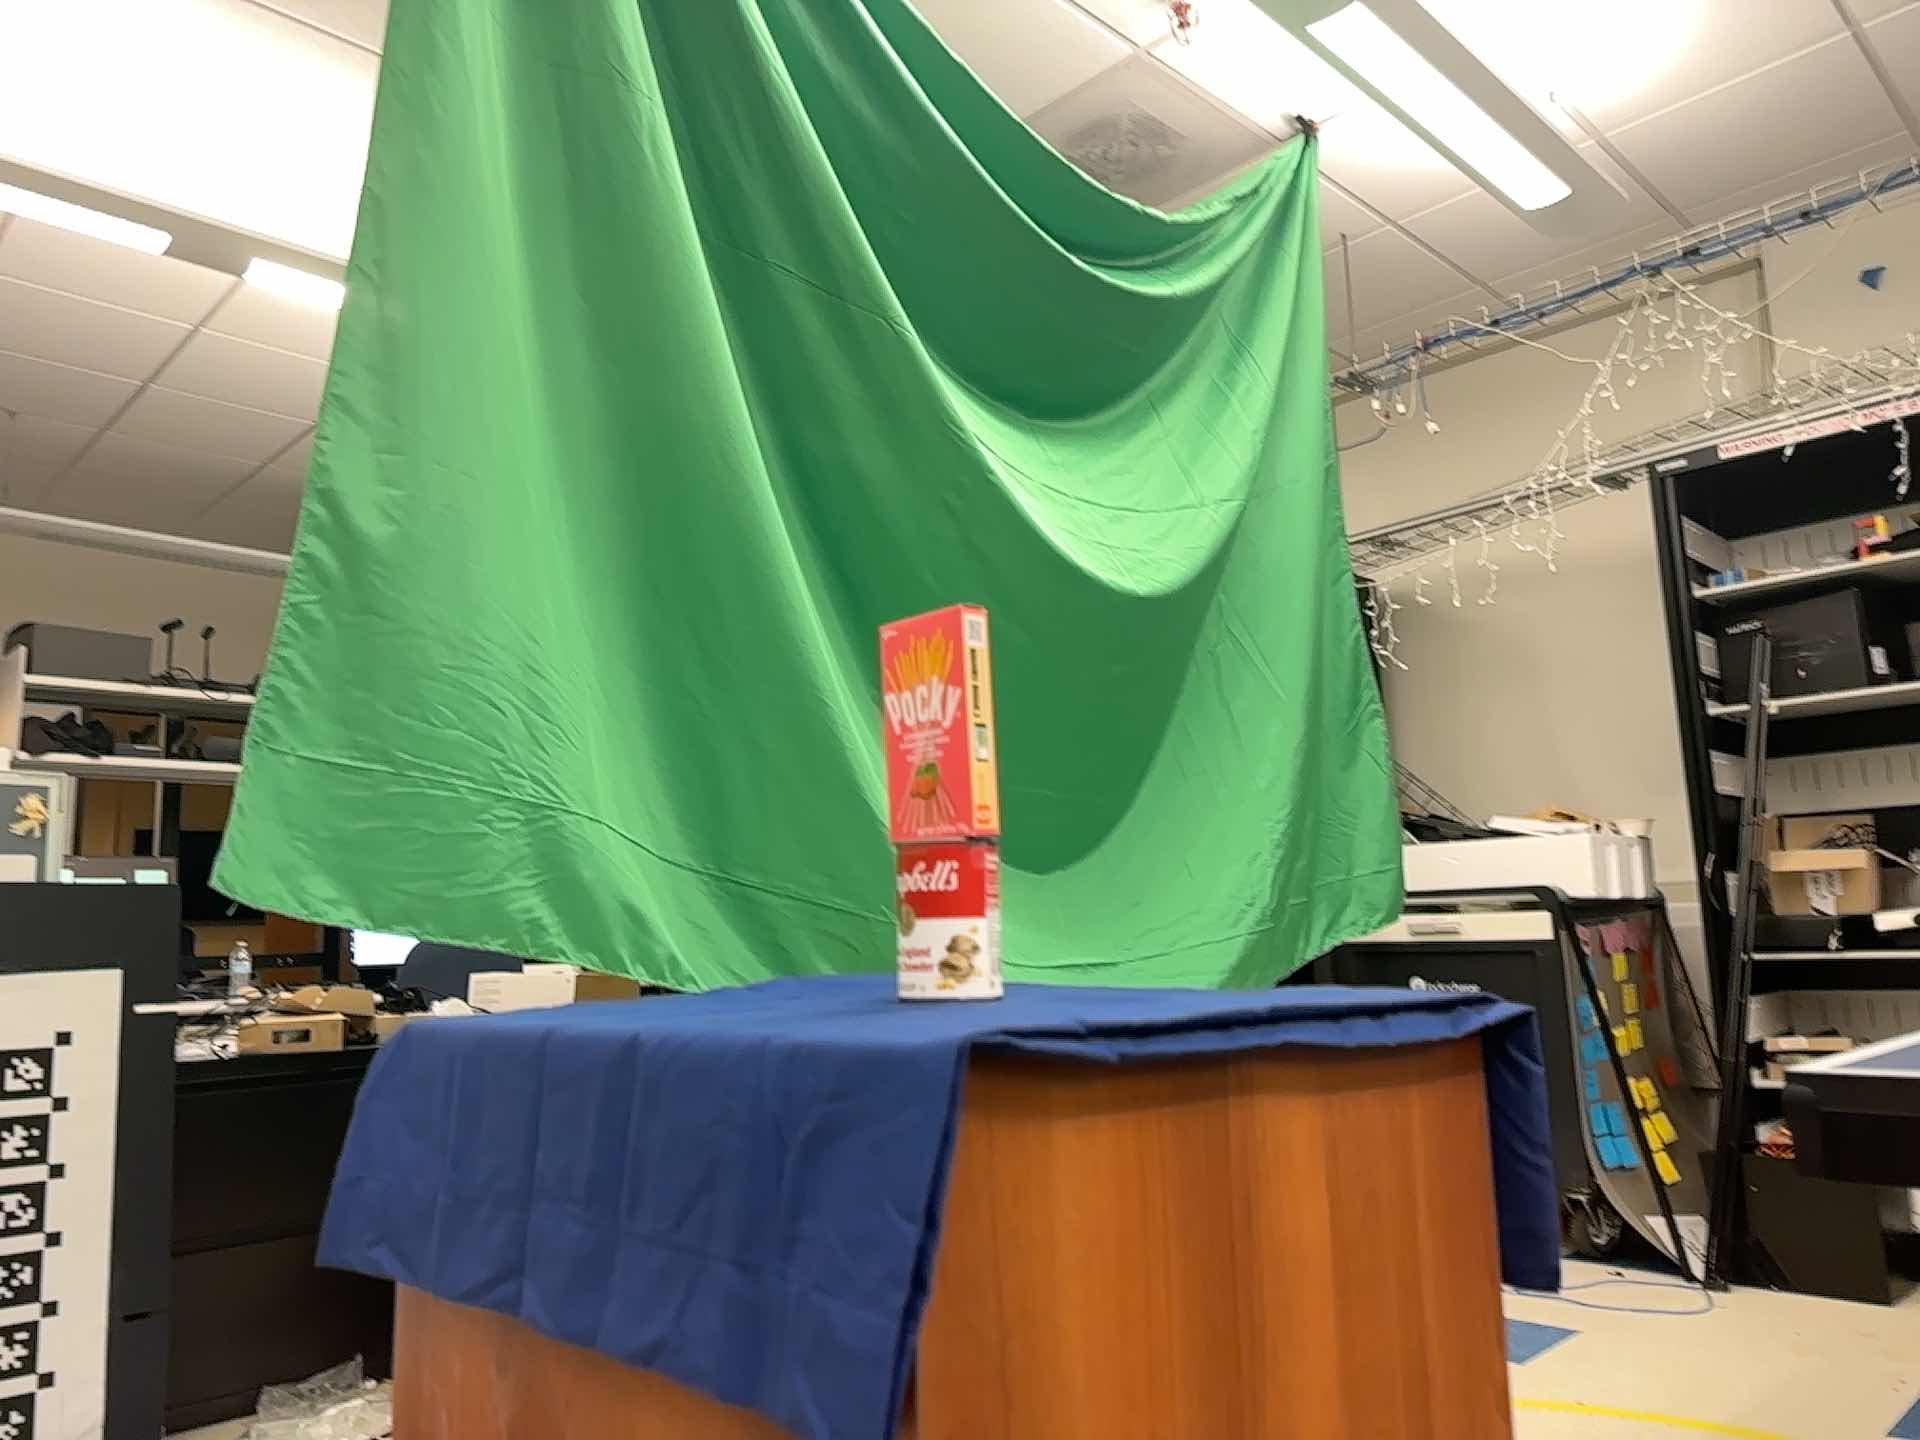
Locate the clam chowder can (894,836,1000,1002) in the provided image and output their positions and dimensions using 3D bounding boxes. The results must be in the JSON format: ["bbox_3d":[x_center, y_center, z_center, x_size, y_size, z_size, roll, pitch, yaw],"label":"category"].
[{"bbox_3d":[-0.008,0.128,0.864,0.068,0.102,0.068,-1,-9,0],"label":"clam chowder can"}]

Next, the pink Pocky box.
[{"bbox_3d":[-0.016,0.001,0.882,0.029,0.155,0.084,5,-11,-39],"label":"pink Pocky box"}]
